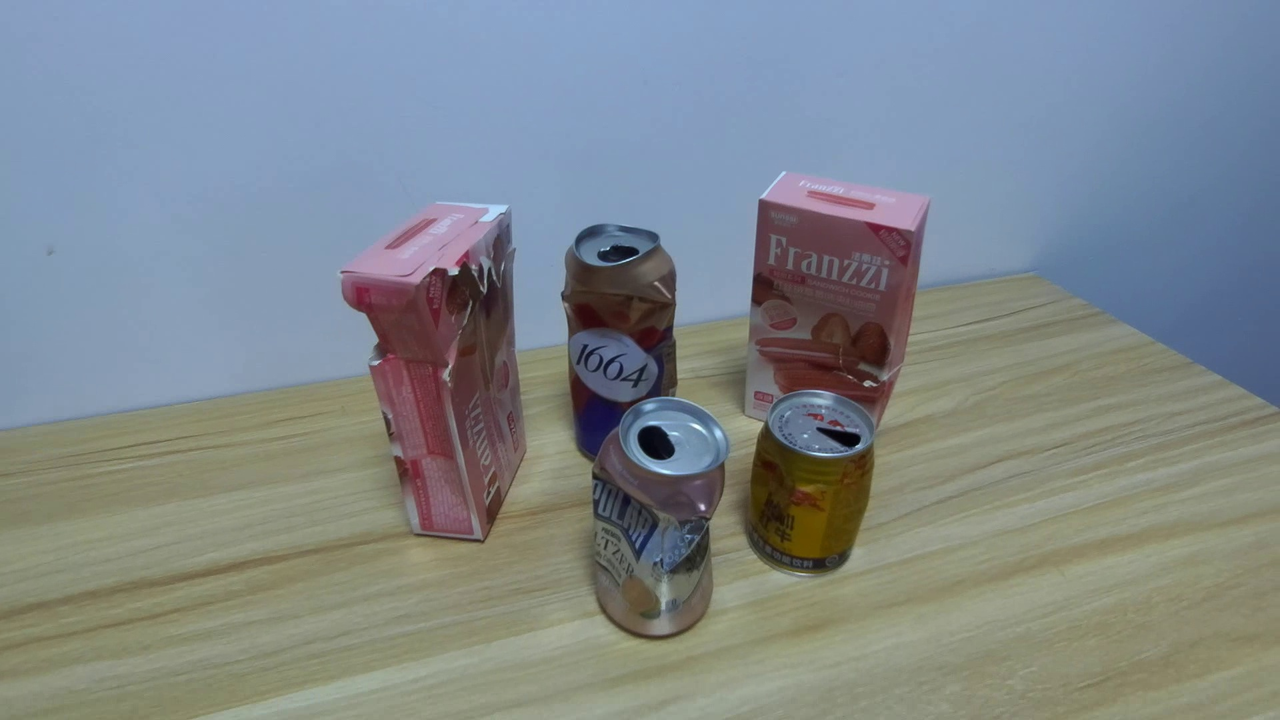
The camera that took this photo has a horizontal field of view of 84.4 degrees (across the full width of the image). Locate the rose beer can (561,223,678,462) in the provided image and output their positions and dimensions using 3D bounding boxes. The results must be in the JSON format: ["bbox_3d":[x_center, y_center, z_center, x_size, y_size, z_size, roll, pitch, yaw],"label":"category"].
[{"bbox_3d":[-0.013,-0.007,0.473,0.074,0.162,0.068,-4,32,-4],"label":"rose beer can"}]

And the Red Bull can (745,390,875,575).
[{"bbox_3d":[0.100,0.072,0.416,0.069,0.092,0.069,0,33,0],"label":"Red Bull can"}]

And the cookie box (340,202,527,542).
[{"bbox_3d":[-0.108,0.010,0.426,0.059,0.186,0.105,5,33,11],"label":"cookie box"}]

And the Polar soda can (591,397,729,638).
[{"bbox_3d":[0.014,0.086,0.372,0.067,0.122,0.070,-11,35,-26],"label":"Polar soda can"}]

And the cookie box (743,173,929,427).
[{"bbox_3d":[0.132,-0.024,0.483,0.105,0.188,0.049,17,43,23],"label":"cookie box"}]
